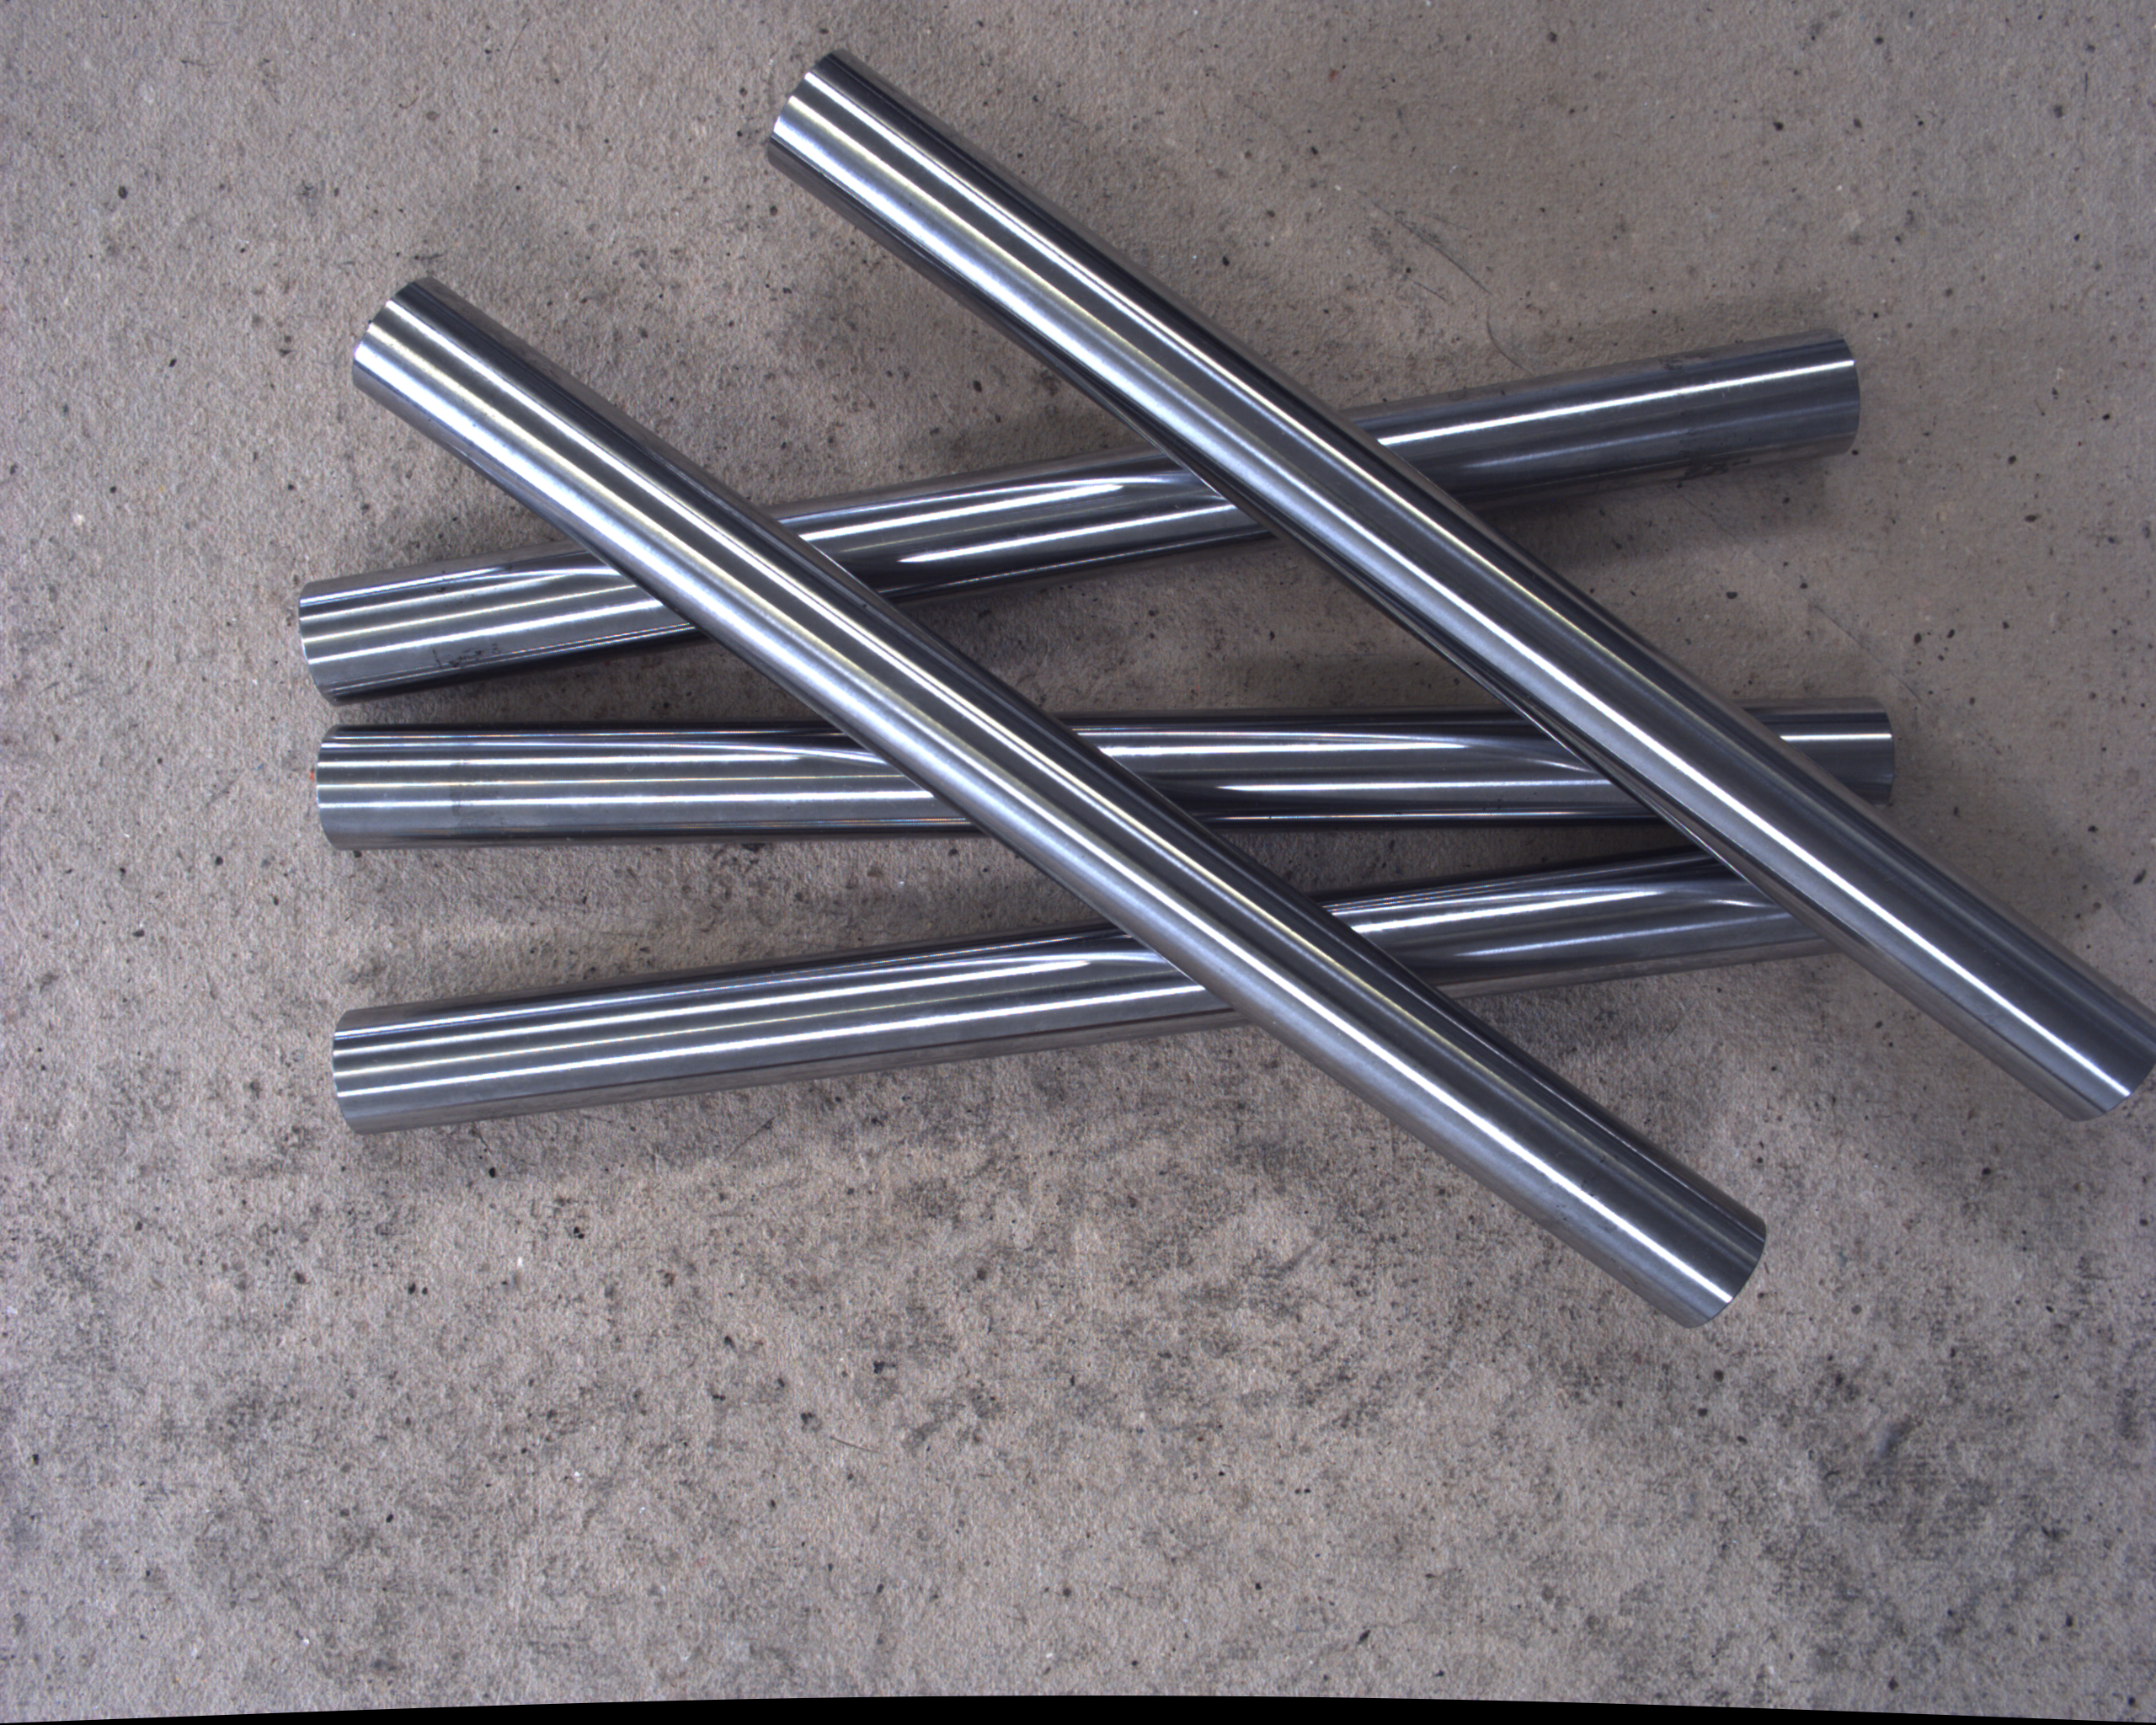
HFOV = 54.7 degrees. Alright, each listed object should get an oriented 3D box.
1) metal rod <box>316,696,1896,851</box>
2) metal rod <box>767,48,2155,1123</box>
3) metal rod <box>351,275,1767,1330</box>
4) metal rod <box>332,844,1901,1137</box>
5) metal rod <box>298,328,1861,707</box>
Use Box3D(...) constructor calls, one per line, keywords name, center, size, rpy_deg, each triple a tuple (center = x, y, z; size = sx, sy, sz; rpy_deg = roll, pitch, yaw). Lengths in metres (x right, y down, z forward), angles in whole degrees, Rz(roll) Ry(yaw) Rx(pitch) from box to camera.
Box3D(name="metal rod", center=(0.006, -0.018, 0.411), size=(0.302, 0.025, 0.025), rpy_deg=(-1, 90, 0))
Box3D(name="metal rod", center=(0.071, -0.051, 0.386), size=(0.301, 0.025, 0.025), rpy_deg=(36, 90, 0))
Box3D(name="metal rod", center=(-0.003, -0.011, 0.386), size=(0.301, 0.025, 0.025), rpy_deg=(35, 90, 0))
Box3D(name="metal rod", center=(0.008, 0.023, 0.411), size=(0.302, 0.025, 0.025), rpy_deg=(-7, 90, 0))
Box3D(name="metal rod", center=(0.001, -0.068, 0.411), size=(0.302, 0.025, 0.025), rpy_deg=(-10, 90, 0))
